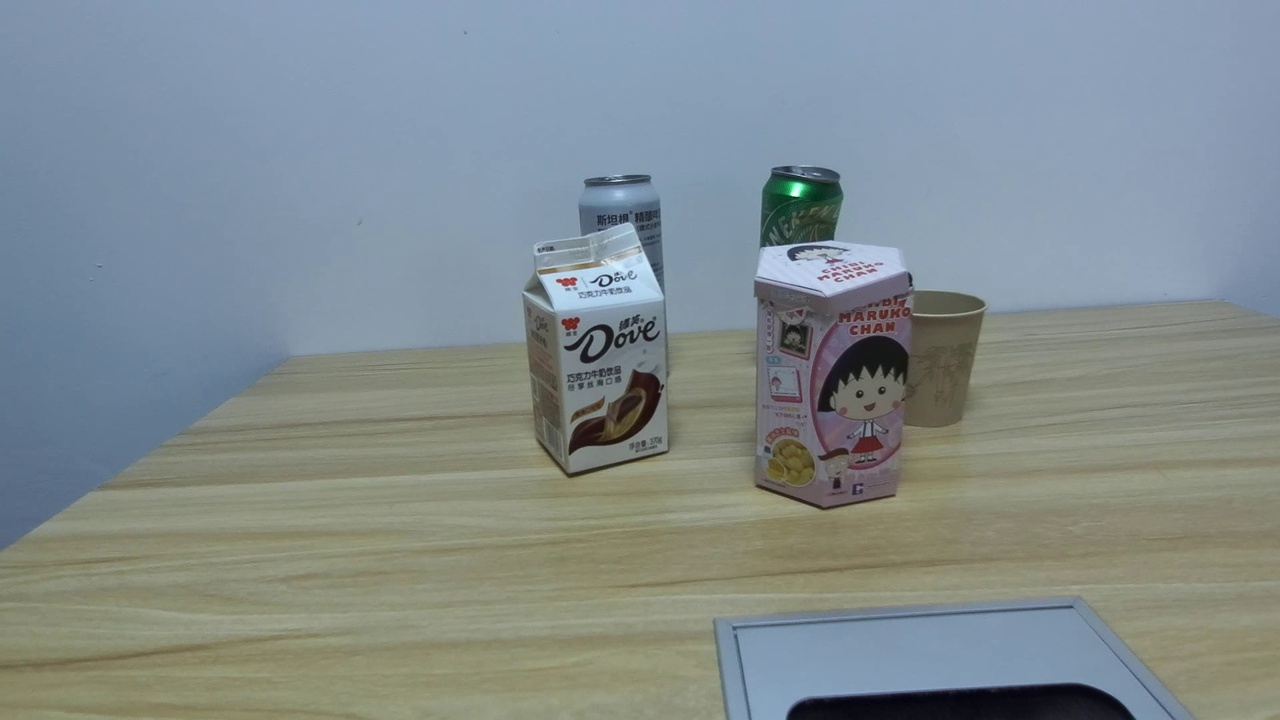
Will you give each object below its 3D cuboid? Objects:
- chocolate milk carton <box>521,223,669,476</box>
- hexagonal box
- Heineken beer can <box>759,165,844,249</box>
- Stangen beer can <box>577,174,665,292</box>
[{"bbox_3d":[-0.029,-0.011,0.465,0.075,0.148,0.073,-10,19,-22],"label":"chocolate milk carton"},{"bbox_3d":[0.108,0.006,0.409,0.092,0.135,0.085,-8,19,-12],"label":"hexagonal box"},{"bbox_3d":[0.134,-0.069,0.579,0.068,0.168,0.069,-3,18,-3],"label":"Heineken beer can"},{"bbox_3d":[-0.014,-0.068,0.599,0.067,0.171,0.067,-4,17,1],"label":"Stangen beer can"}]
